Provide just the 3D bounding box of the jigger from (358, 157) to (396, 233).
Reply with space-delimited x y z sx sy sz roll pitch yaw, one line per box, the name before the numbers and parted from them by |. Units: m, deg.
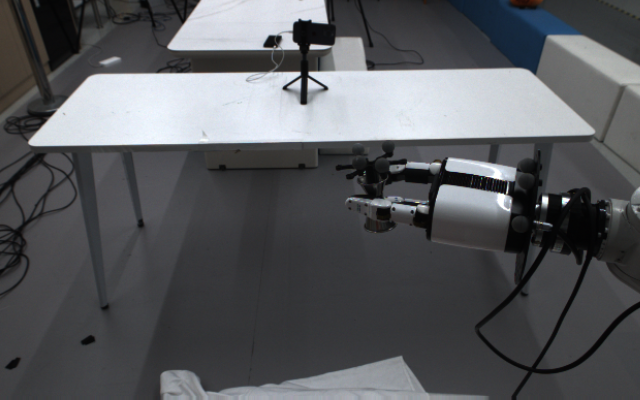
jigger | 0.074 0.001 0.625 0.043 0.071 0.043 -11 23 5
